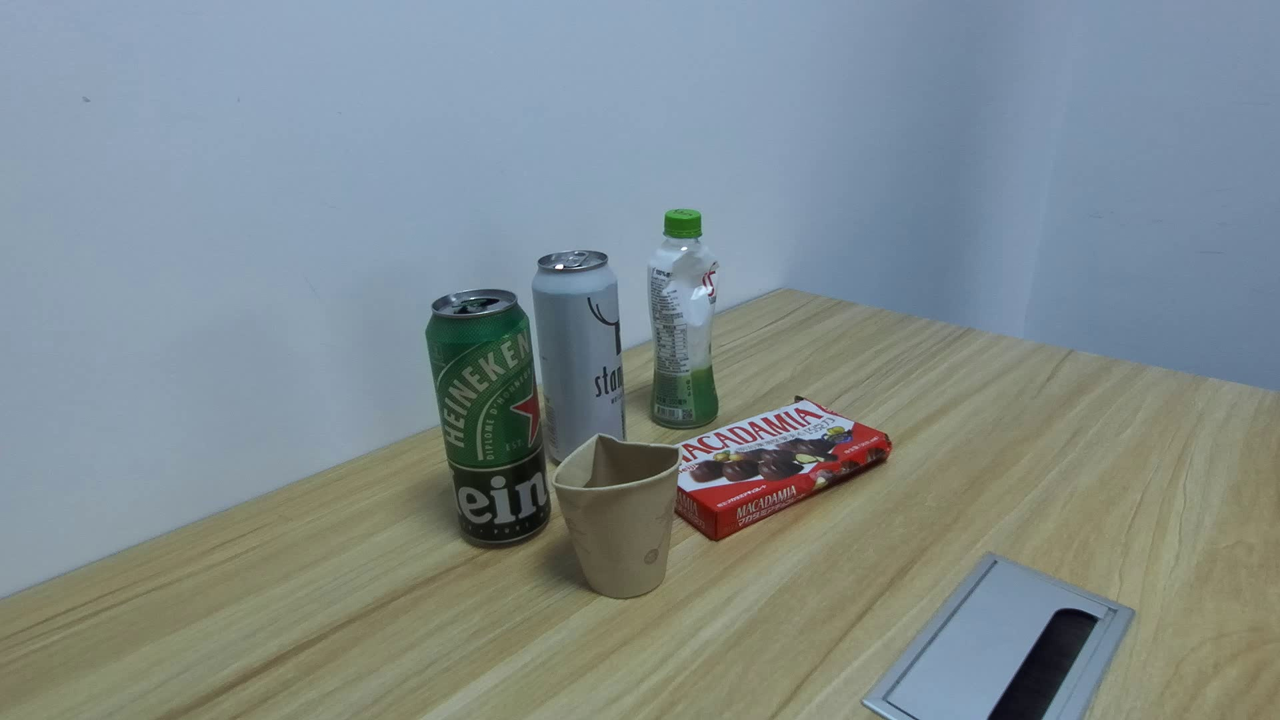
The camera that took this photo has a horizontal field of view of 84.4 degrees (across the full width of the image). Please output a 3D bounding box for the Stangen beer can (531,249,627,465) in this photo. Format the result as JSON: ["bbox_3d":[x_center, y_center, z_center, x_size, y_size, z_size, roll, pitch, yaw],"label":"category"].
[{"bbox_3d":[-0.046,0.000,0.572,0.067,0.171,0.067,-2,20,1],"label":"Stangen beer can"}]

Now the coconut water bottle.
[{"bbox_3d":[0.038,-0.036,0.618,0.069,0.187,0.069,-1,21,1],"label":"coconut water bottle"}]

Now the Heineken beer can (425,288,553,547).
[{"bbox_3d":[-0.101,0.042,0.485,0.067,0.169,0.067,-3,21,1],"label":"Heineken beer can"}]

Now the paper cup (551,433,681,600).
[{"bbox_3d":[-0.011,0.099,0.437,0.071,0.084,0.066,5,24,23],"label":"paper cup"}]

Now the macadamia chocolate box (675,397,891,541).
[{"bbox_3d":[0.101,0.078,0.555,0.184,0.028,0.105,-17,26,-31],"label":"macadamia chocolate box"}]
